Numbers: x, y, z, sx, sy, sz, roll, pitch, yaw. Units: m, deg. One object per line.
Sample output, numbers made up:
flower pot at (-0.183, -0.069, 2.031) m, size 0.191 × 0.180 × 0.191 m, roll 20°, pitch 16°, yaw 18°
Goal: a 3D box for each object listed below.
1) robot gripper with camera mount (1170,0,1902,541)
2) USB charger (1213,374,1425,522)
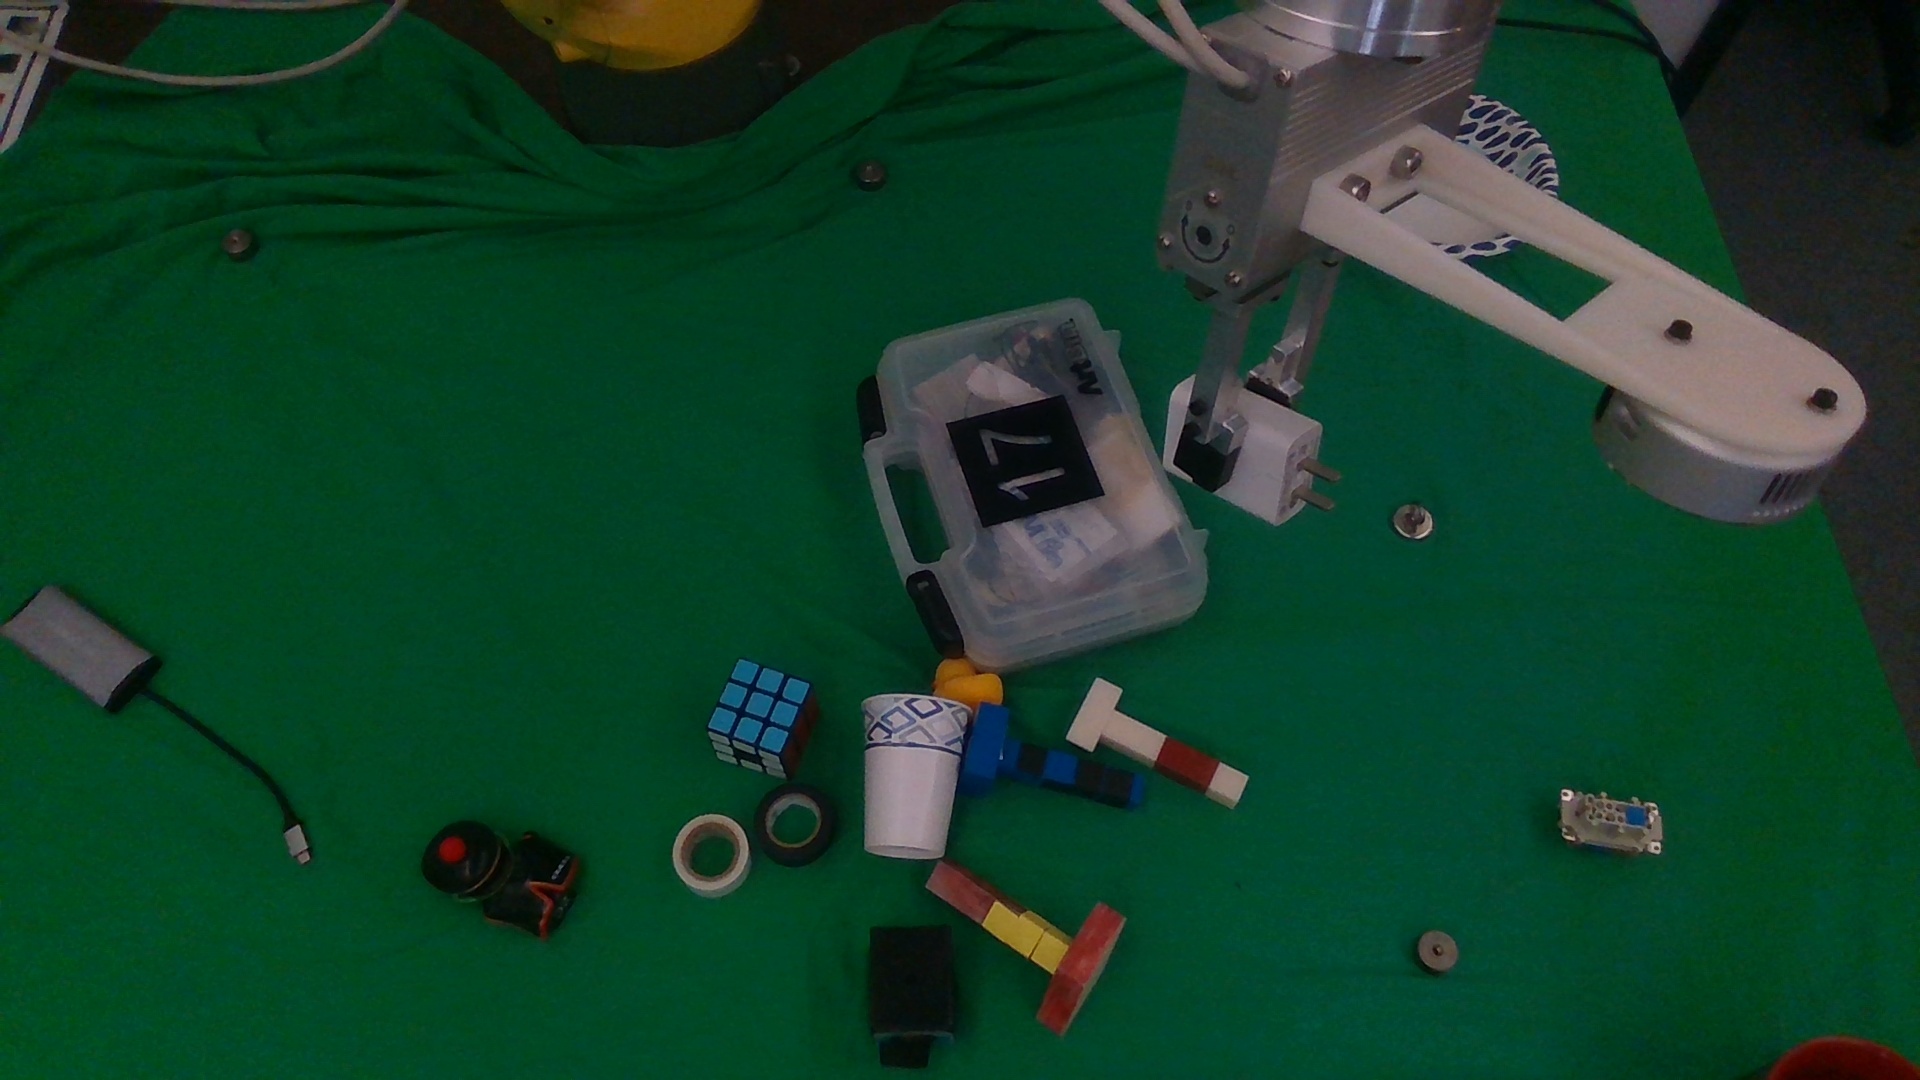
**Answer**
robot gripper with camera mount at (0.171, -0.050, 0.423) m, size 0.118 × 0.158 × 0.194 m, roll -31°, pitch 52°, yaw -30°
USB charger at (0.129, -0.032, 0.499) m, size 0.076 × 0.044 × 0.029 m, roll 22°, pitch 52°, yaw 36°
